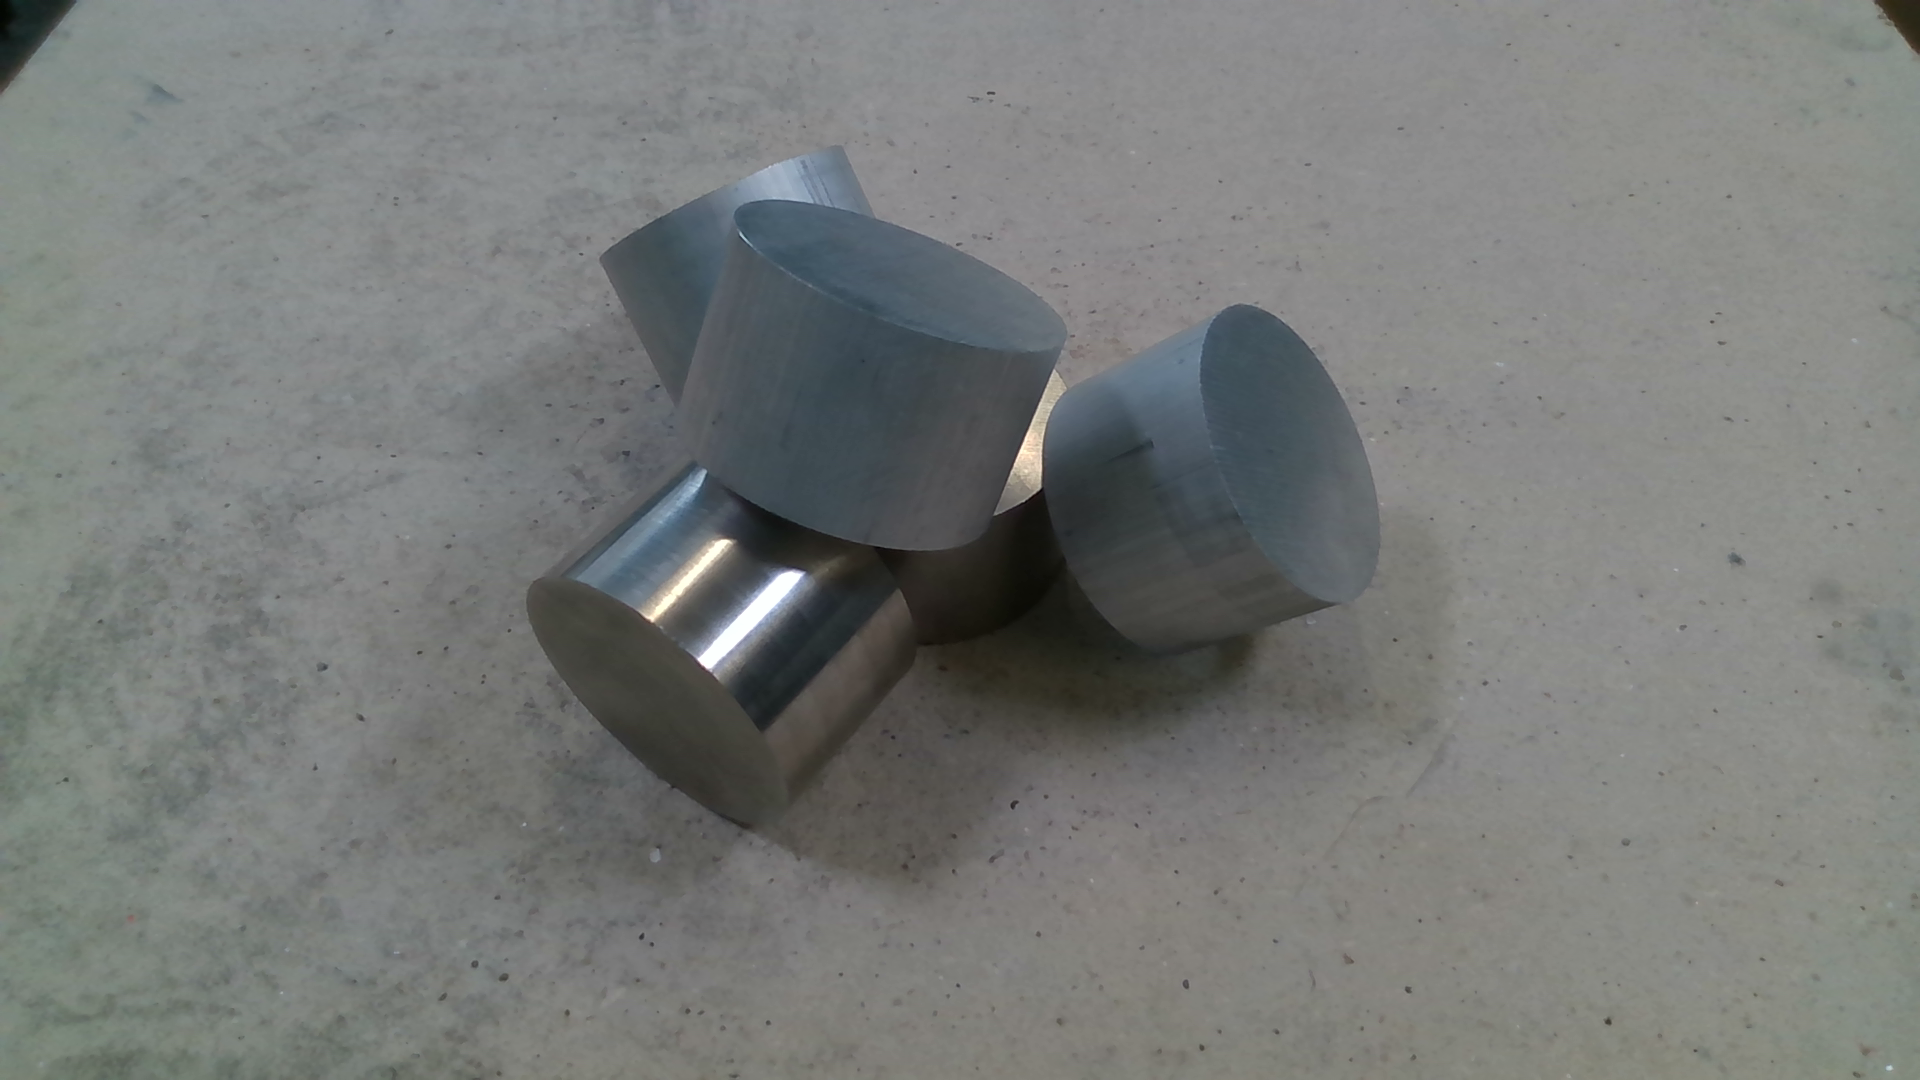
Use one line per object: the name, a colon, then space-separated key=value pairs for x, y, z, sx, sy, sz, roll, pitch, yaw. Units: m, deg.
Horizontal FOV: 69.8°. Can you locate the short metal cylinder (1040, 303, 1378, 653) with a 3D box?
short metal cylinder: x=0.067 y=-0.015 z=0.363 sx=0.050 sy=0.080 sz=0.080 roll=-24 pitch=36 yaw=40

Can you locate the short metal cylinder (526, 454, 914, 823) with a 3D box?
short metal cylinder: x=-0.059 y=0.023 z=0.339 sx=0.080 sy=0.080 sz=0.050 roll=28 pitch=56 yaw=21

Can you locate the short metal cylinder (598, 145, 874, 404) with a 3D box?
short metal cylinder: x=-0.061 y=-0.078 z=0.416 sx=0.080 sy=0.050 sz=0.080 roll=-24 pitch=11 yaw=5

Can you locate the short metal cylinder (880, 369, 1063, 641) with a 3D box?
short metal cylinder: x=-0.009 y=-0.018 z=0.393 sx=0.080 sy=0.050 sz=0.080 roll=0 pitch=51 yaw=0

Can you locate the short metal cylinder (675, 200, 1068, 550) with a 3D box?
short metal cylinder: x=-0.021 y=-0.040 z=0.324 sx=0.080 sy=0.050 sz=0.080 roll=18 pitch=25 yaw=-9
